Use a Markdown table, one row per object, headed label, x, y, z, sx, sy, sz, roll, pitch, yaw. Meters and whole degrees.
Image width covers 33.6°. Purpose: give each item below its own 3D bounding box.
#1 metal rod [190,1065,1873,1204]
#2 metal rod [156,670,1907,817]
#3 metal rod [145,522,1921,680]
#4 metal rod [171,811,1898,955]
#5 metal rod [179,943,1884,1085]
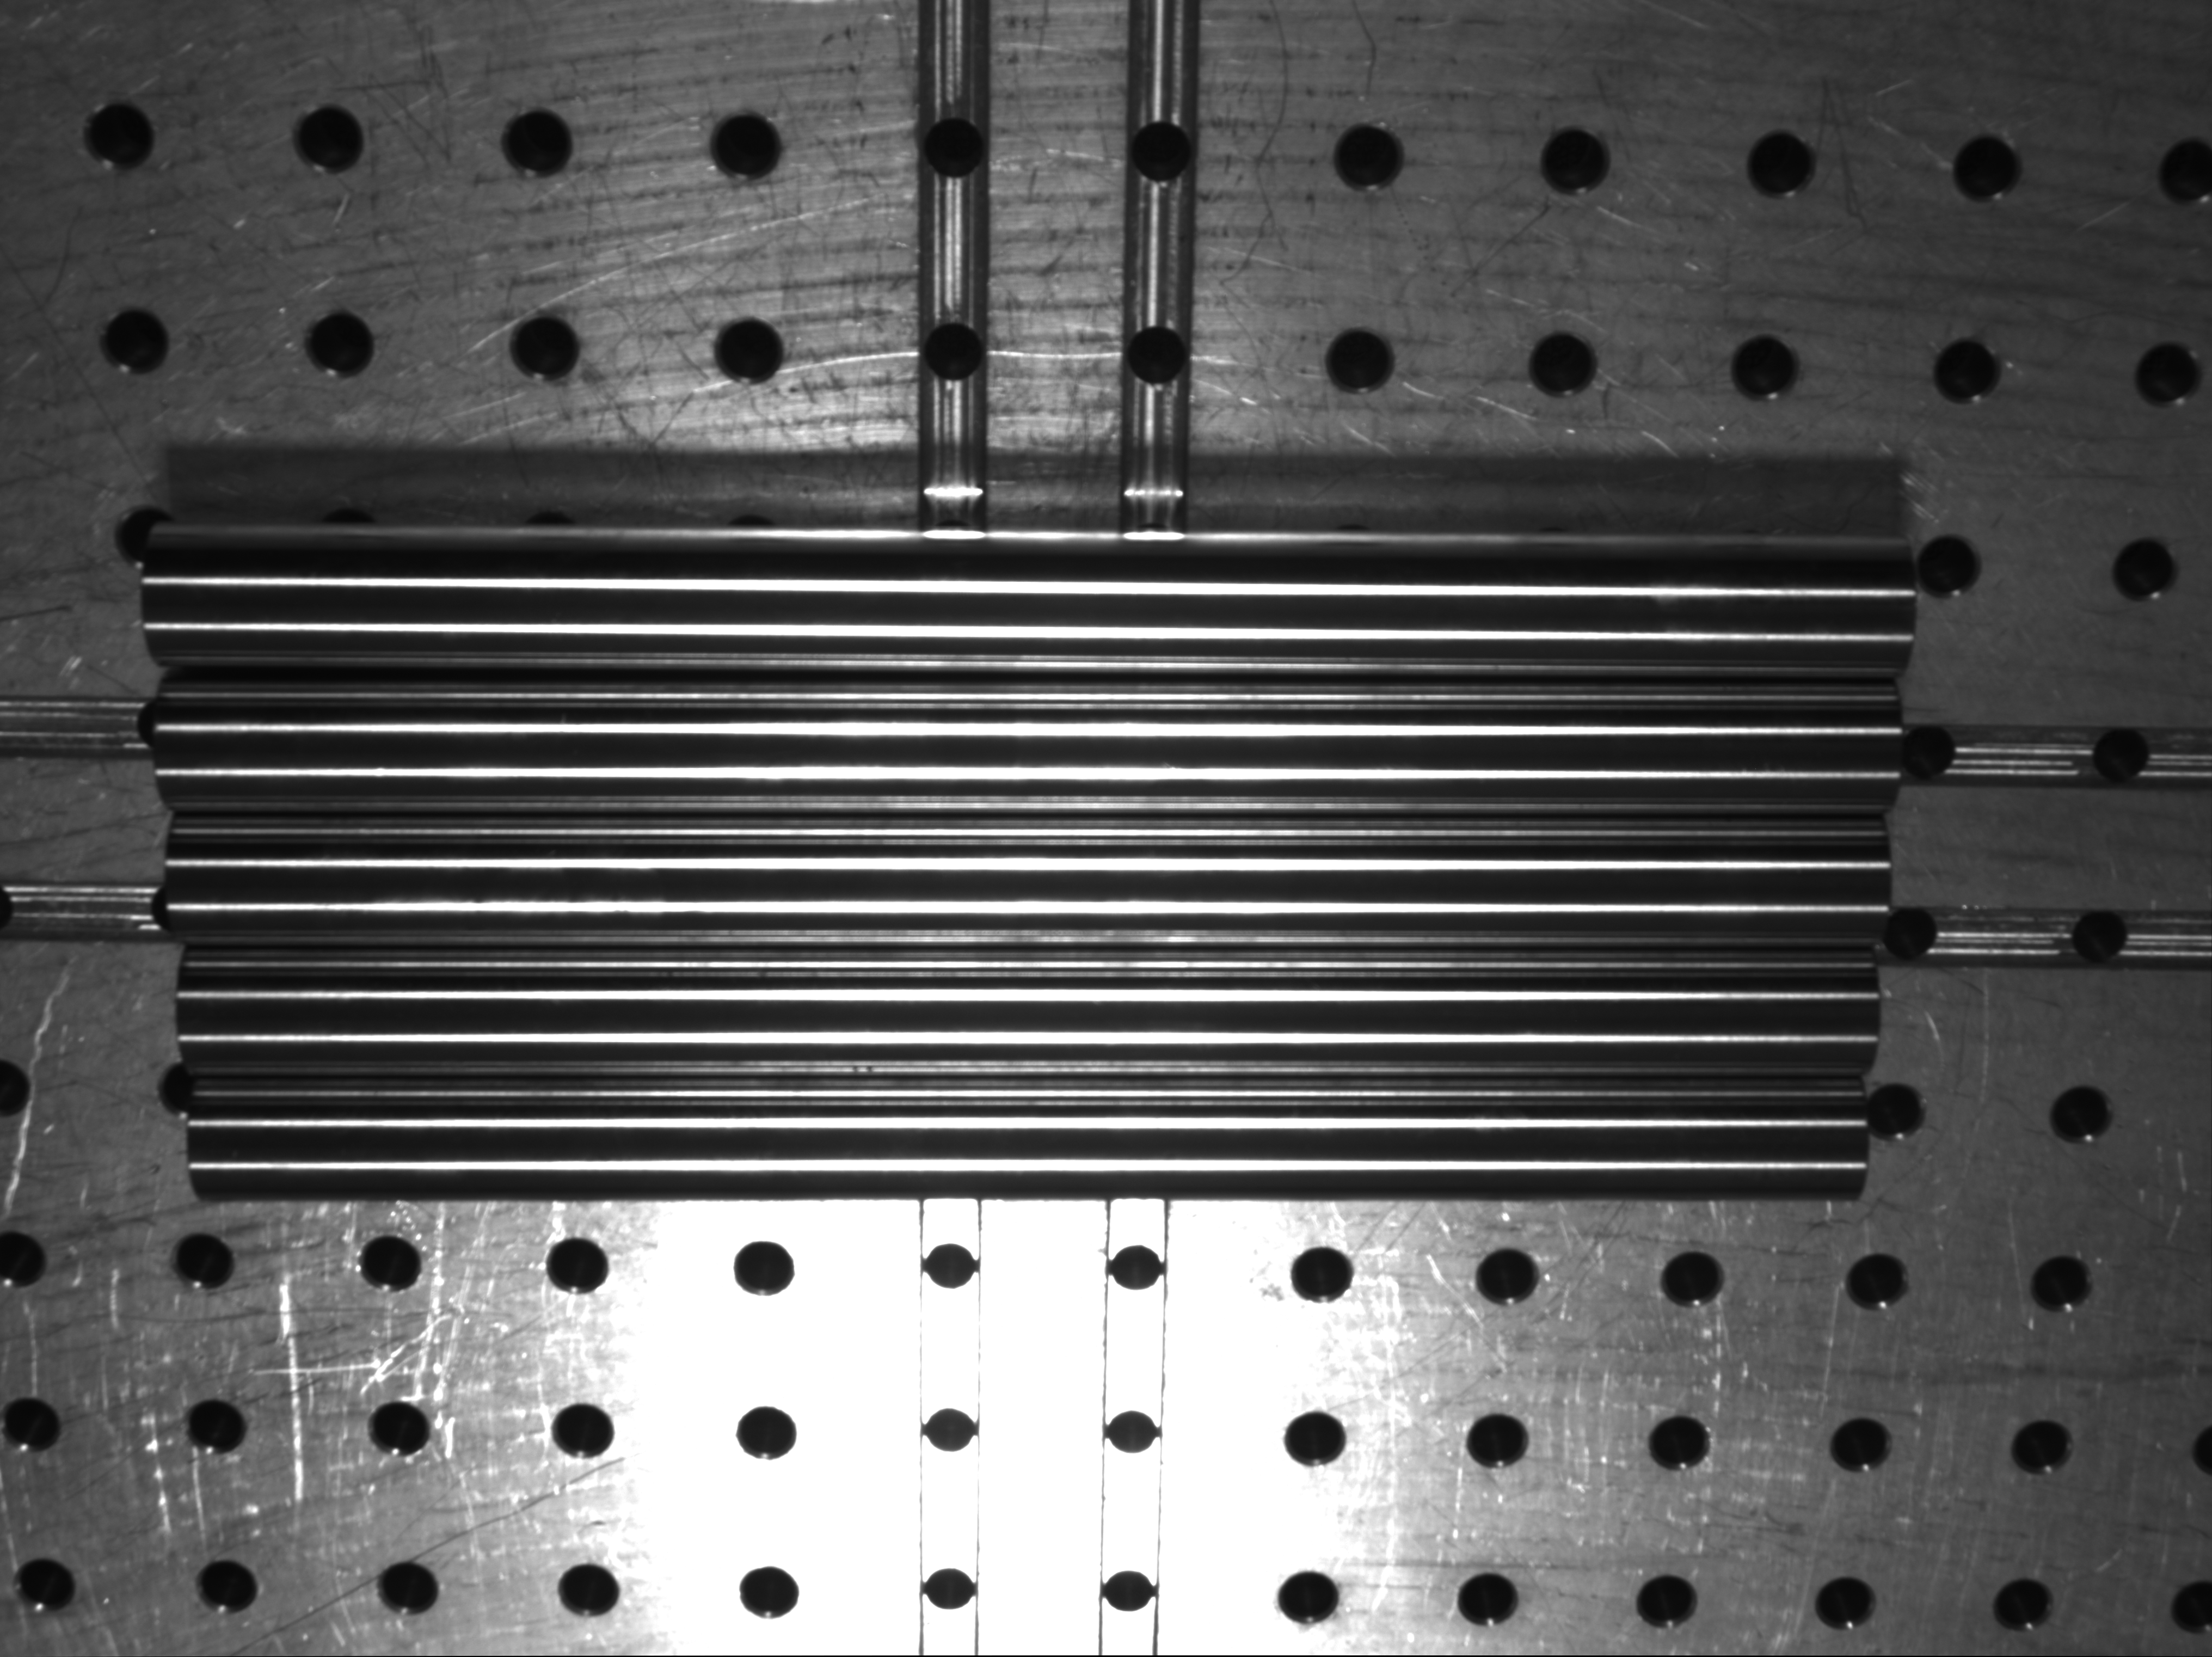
| label | x | y | z | sx | sy | sz | roll | pitch | yaw |
| --- | --- | --- | --- | --- | --- | --- | --- | --- | --- |
| metal rod | -0.013 | 0.055 | 0.665 | 0.300 | 0.025 | 0.025 | 0 | 110 | -1 |
| metal rod | -0.012 | -0.015 | 0.640 | 0.300 | 0.025 | 0.025 | 0 | 110 | -1 |
| metal rod | -0.012 | -0.039 | 0.631 | 0.300 | 0.025 | 0.025 | 0 | 110 | -1 |
| metal rod | -0.012 | 0.009 | 0.648 | 0.300 | 0.025 | 0.025 | 0 | 110 | -1 |
| metal rod | -0.013 | 0.033 | 0.657 | 0.300 | 0.025 | 0.025 | 0 | 110 | -1 |
